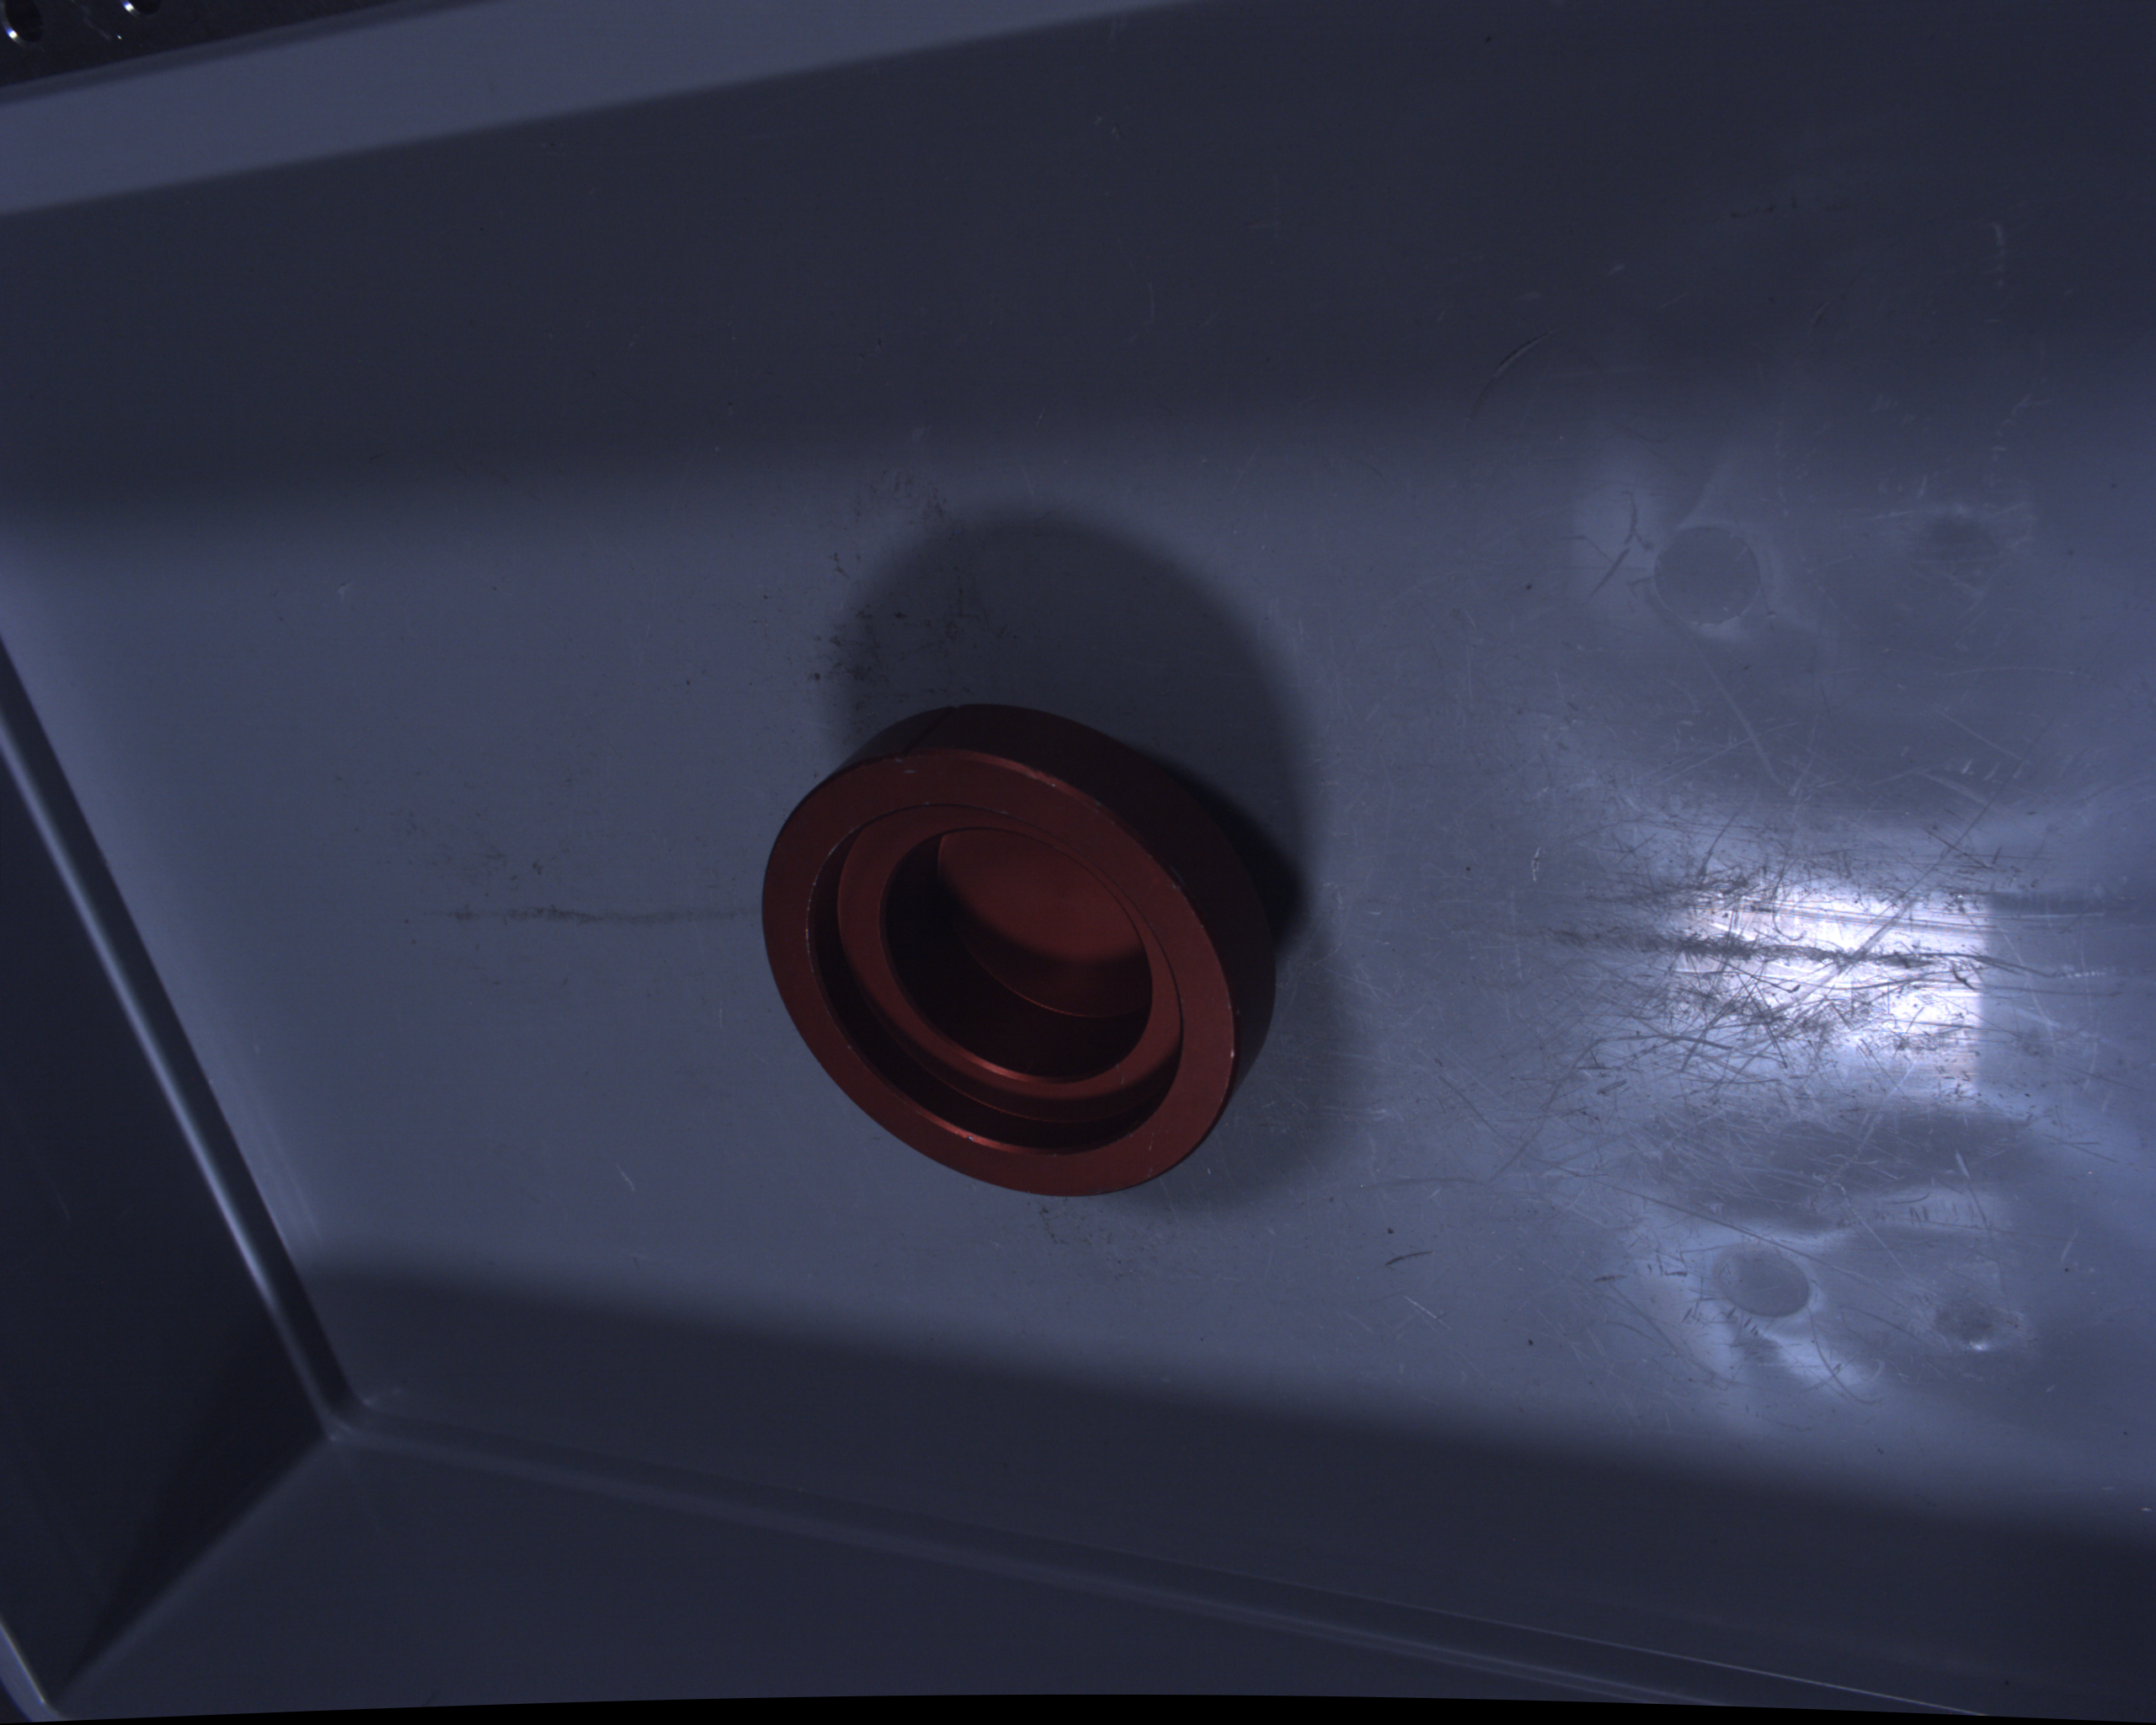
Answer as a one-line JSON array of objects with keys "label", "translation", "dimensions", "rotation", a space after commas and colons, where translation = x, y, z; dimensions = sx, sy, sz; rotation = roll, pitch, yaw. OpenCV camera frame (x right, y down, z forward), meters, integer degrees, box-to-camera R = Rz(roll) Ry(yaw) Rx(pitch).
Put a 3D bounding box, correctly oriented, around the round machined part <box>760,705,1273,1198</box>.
[{"label": "round machined part", "translation": [-0.008, 0.013, 0.404], "dimensions": [0.098, 0.042, 0.097], "rotation": [13, 124, 20]}]
